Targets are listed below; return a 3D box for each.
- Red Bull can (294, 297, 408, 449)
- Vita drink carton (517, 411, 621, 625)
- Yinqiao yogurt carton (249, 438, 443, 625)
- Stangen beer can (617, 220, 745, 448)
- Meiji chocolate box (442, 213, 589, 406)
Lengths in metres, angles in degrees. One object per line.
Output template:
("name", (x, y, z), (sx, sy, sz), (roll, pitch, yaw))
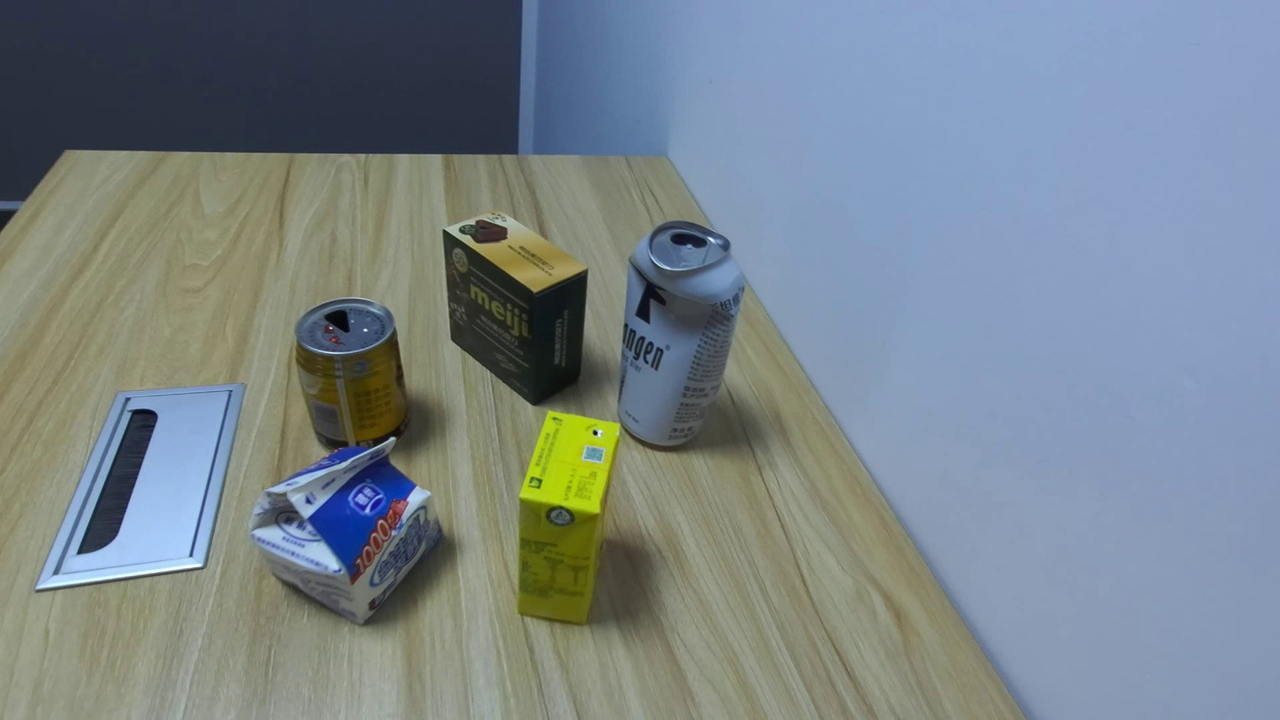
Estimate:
("Red Bull can", (-0.194, 0.012, 0.480), (0.069, 0.092, 0.069), (6, 39, -5))
("Vita drink carton", (-0.041, 0.091, 0.400), (0.043, 0.109, 0.066), (10, 40, 1))
("Yinqiao yogurt carton", (-0.165, 0.084, 0.394), (0.077, 0.093, 0.083), (21, 40, 15))
("Stangen beer can", (0.023, -0.014, 0.494), (0.077, 0.162, 0.066), (9, 39, 0))
("Meiji chocolate box", (-0.097, -0.041, 0.549), (0.109, 0.109, 0.056), (34, 46, 28))
